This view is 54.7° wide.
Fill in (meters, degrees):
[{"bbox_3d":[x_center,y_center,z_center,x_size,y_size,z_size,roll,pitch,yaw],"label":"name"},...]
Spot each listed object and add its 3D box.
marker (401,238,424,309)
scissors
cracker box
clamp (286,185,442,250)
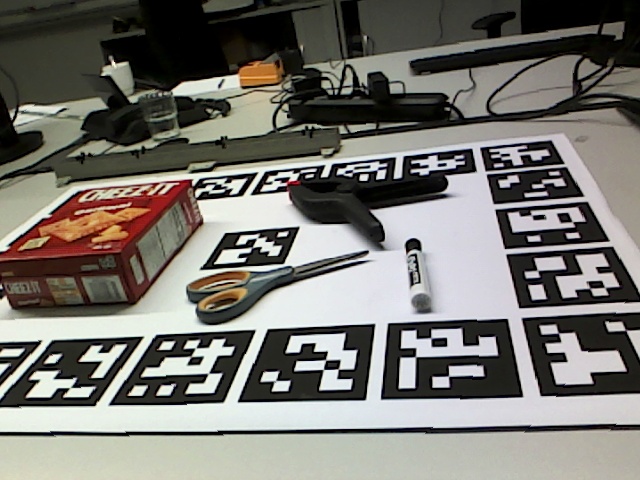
[{"bbox_3d":[0.092,0.030,0.622,0.020,0.019,0.121,-7,25,9],"label":"marker"},{"bbox_3d":[-0.046,0.040,0.658,0.202,0.016,0.088,-15,24,-15],"label":"scissors"},{"bbox_3d":[-0.264,-0.001,0.770,0.165,0.072,0.213,-4,26,14],"label":"cracker box"},{"bbox_3d":[0.033,-0.044,0.814,0.204,0.036,0.165,12,32,39],"label":"clamp"}]
